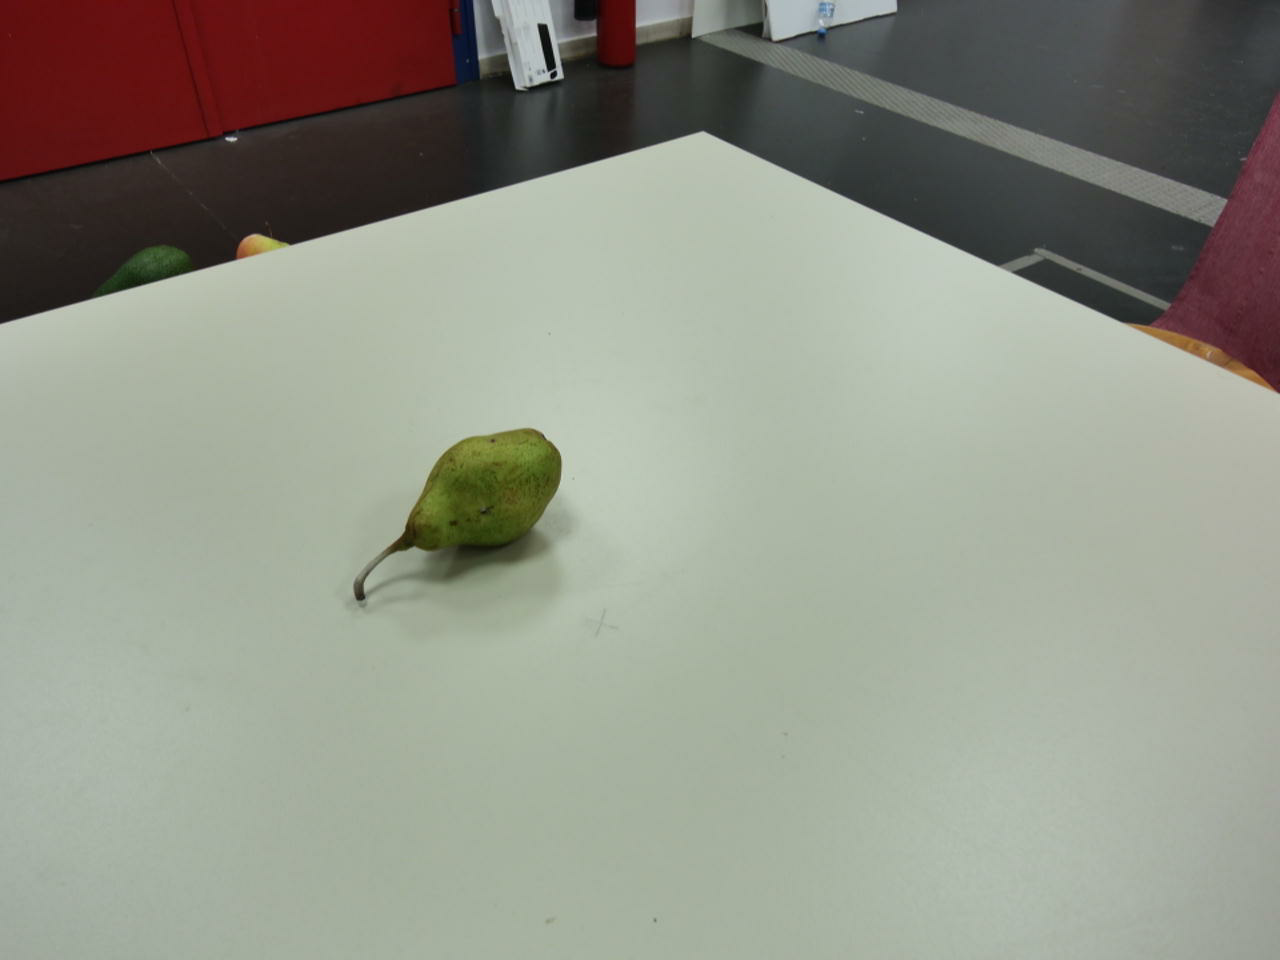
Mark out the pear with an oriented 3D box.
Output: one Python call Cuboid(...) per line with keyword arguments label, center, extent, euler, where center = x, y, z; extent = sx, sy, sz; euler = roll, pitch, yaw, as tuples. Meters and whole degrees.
Cuboid(label="pear", center=(-0.091, 0.009, 0.486), extent=(0.111, 0.056, 0.056), euler=(-14, 40, -18))
